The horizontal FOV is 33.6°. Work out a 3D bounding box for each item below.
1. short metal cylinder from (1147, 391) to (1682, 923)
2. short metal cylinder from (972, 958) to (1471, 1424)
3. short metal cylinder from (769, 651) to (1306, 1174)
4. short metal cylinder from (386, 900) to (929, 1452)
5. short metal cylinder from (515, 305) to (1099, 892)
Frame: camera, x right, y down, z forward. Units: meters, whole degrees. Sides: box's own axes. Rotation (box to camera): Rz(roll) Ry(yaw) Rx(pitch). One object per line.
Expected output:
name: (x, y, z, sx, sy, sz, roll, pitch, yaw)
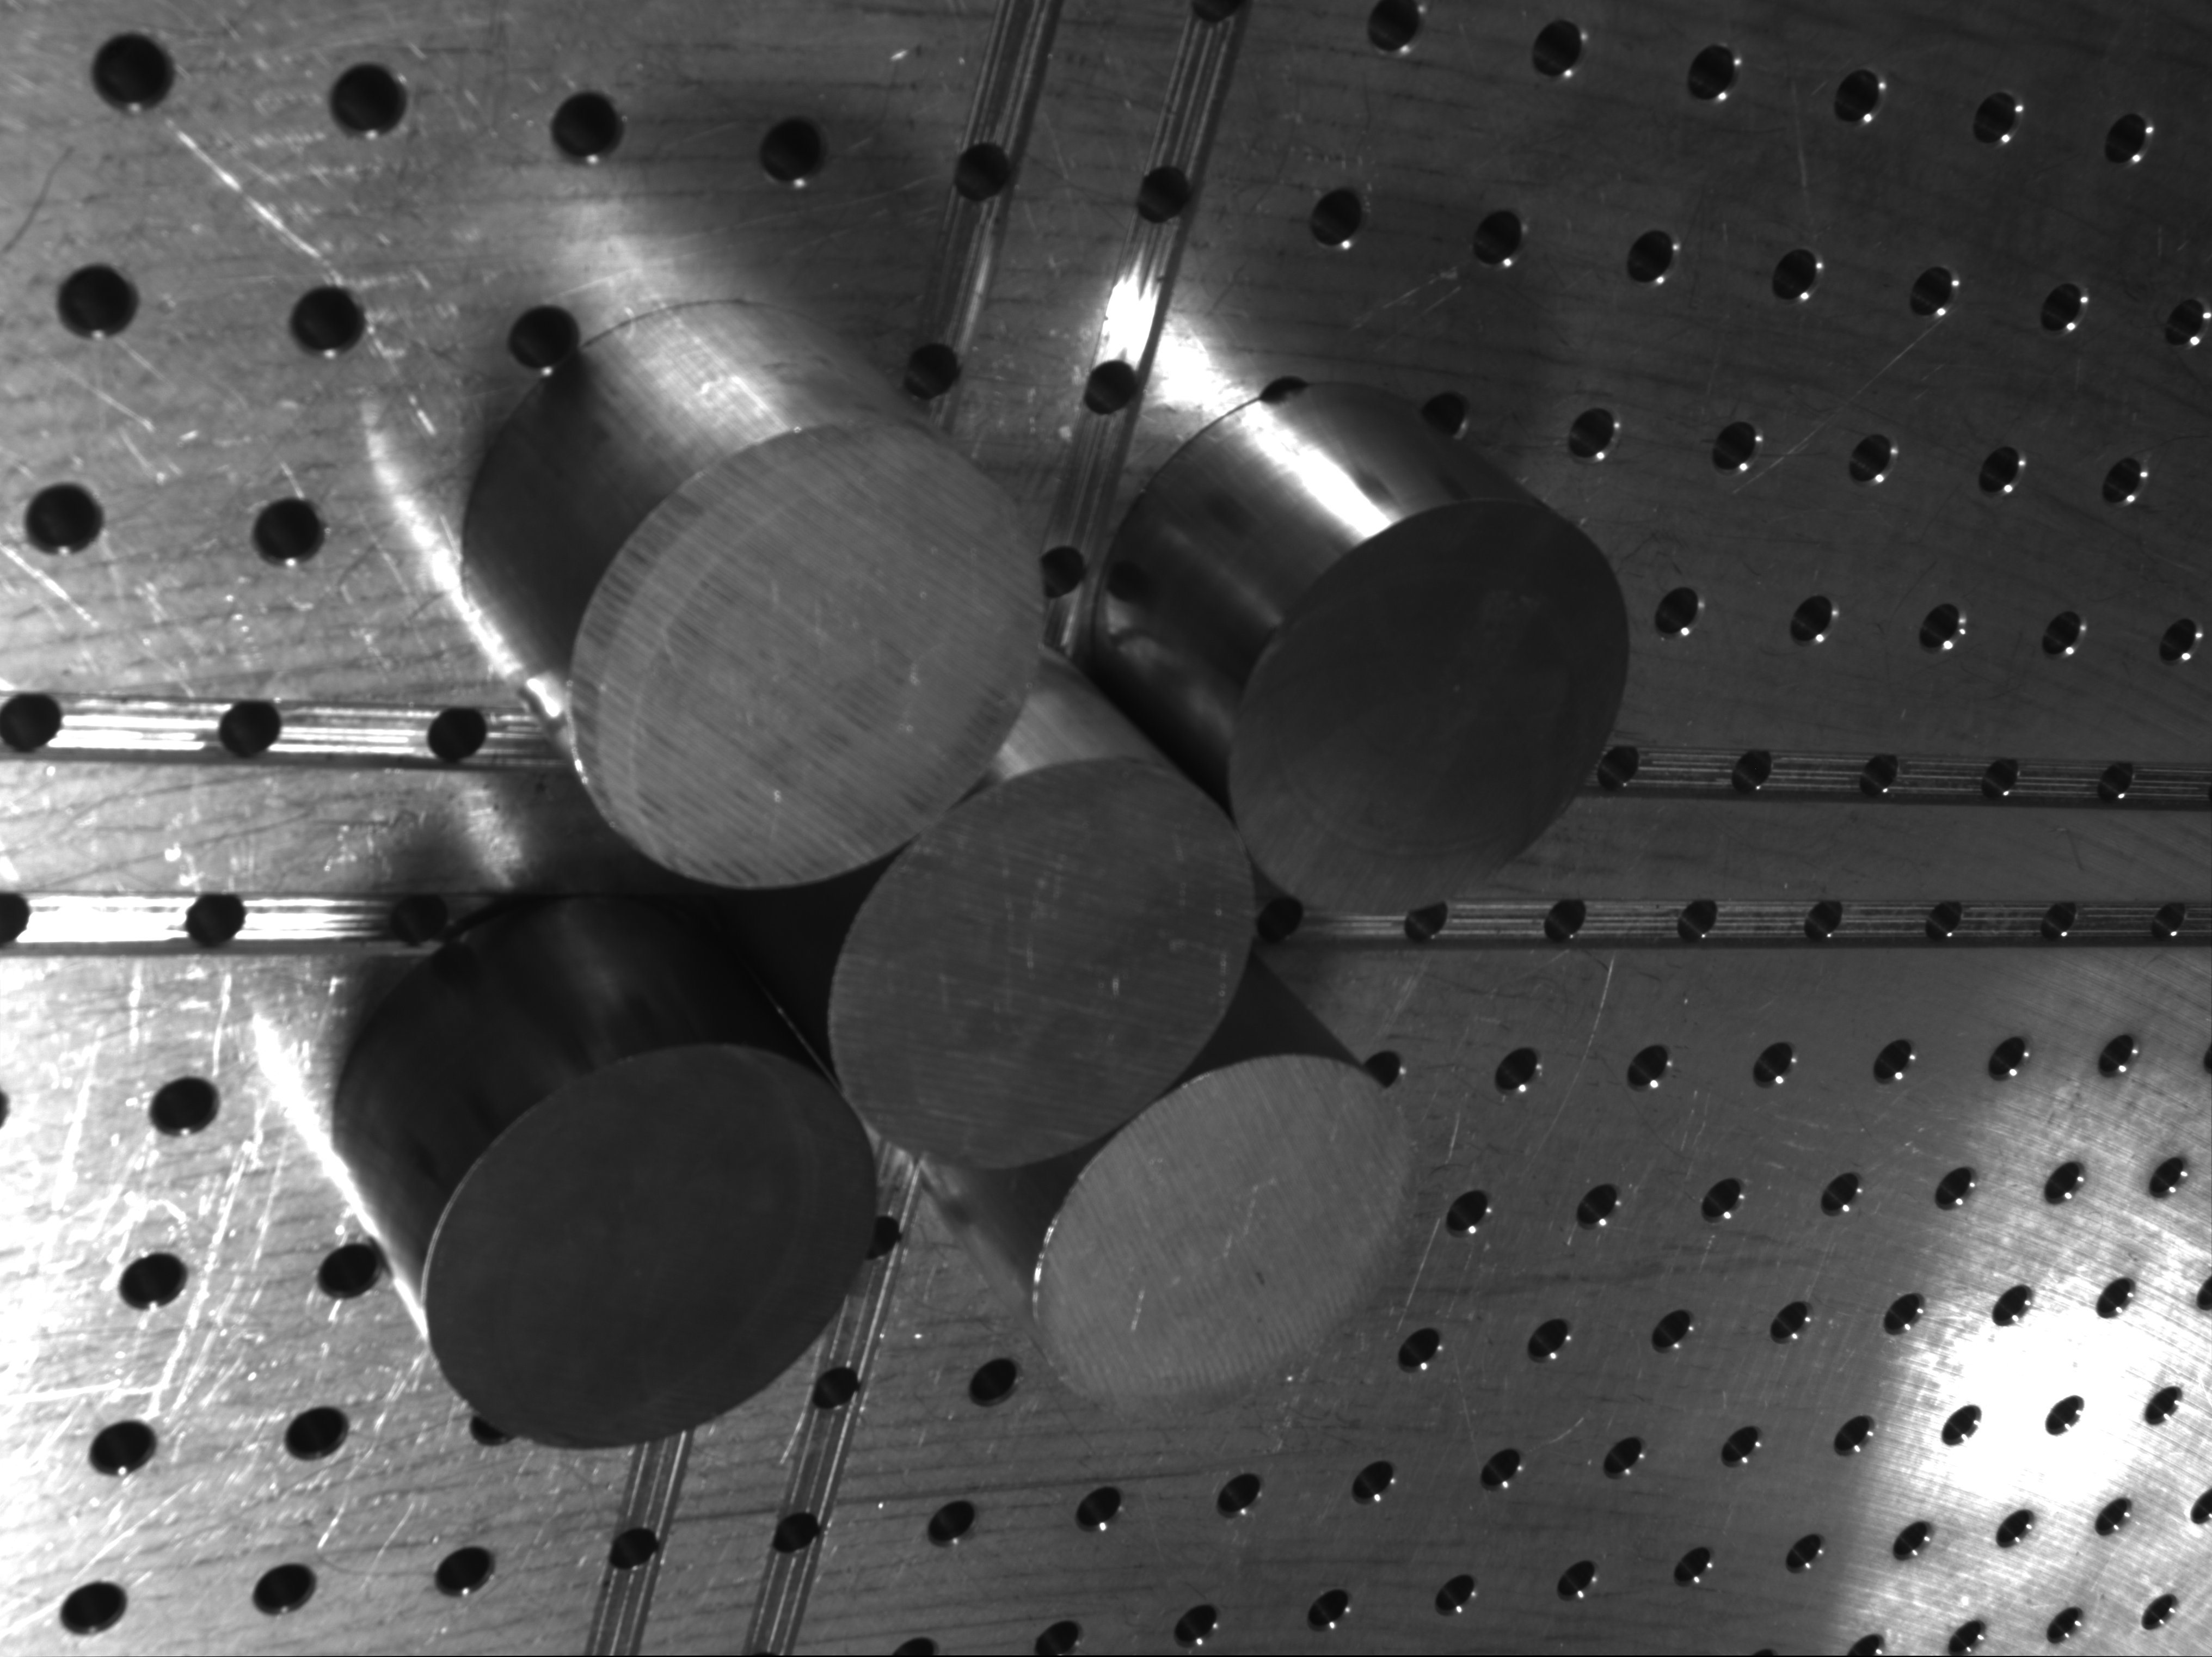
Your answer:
short metal cylinder: (0.054, -0.030, 0.648, 0.080, 0.050, 0.080, -15, 125, -22)
short metal cylinder: (0.021, 0.064, 0.689, 0.080, 0.050, 0.080, -15, 125, -22)
short metal cylinder: (-0.012, 0.013, 0.638, 0.080, 0.050, 0.080, -15, 125, -22)
short metal cylinder: (-0.077, 0.059, 0.628, 0.080, 0.050, 0.080, -15, 125, -22)
short metal cylinder: (-0.048, -0.037, 0.586, 0.080, 0.050, 0.080, -15, 125, -22)
